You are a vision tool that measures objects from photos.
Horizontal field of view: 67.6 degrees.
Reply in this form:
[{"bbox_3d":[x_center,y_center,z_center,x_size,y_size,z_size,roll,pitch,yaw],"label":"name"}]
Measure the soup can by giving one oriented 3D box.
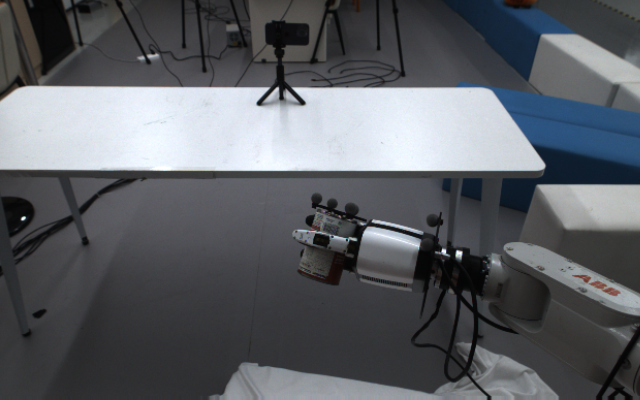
[{"bbox_3d":[0.013,0.072,0.739,0.067,0.101,0.067,17,-1,0],"label":"soup can"}]
